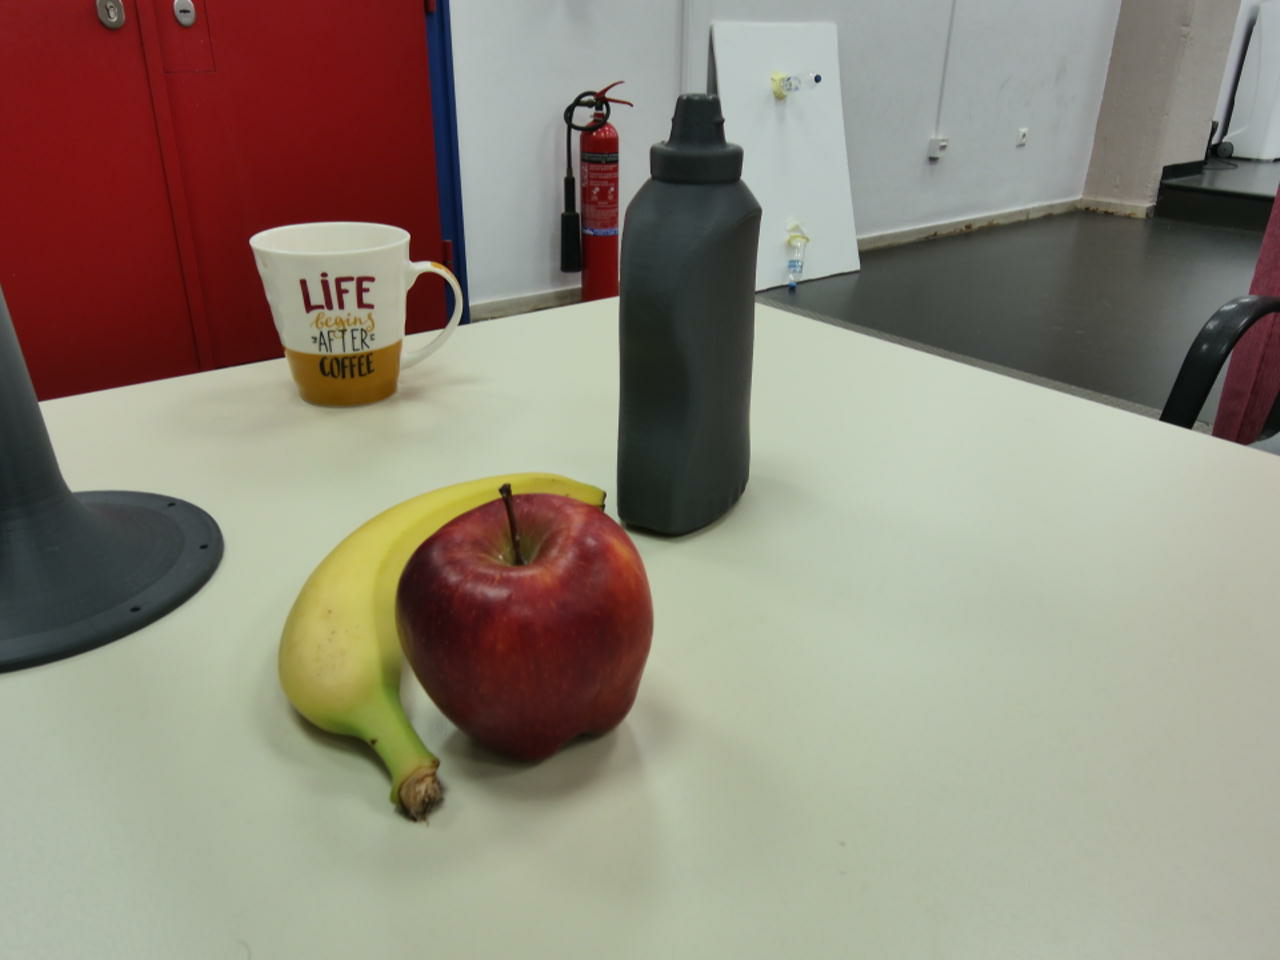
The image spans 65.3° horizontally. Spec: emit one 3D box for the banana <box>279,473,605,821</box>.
[{"bbox_3d":[-0.082,0.043,0.391,0.094,0.041,0.196,7,24,13],"label":"banana"}]
